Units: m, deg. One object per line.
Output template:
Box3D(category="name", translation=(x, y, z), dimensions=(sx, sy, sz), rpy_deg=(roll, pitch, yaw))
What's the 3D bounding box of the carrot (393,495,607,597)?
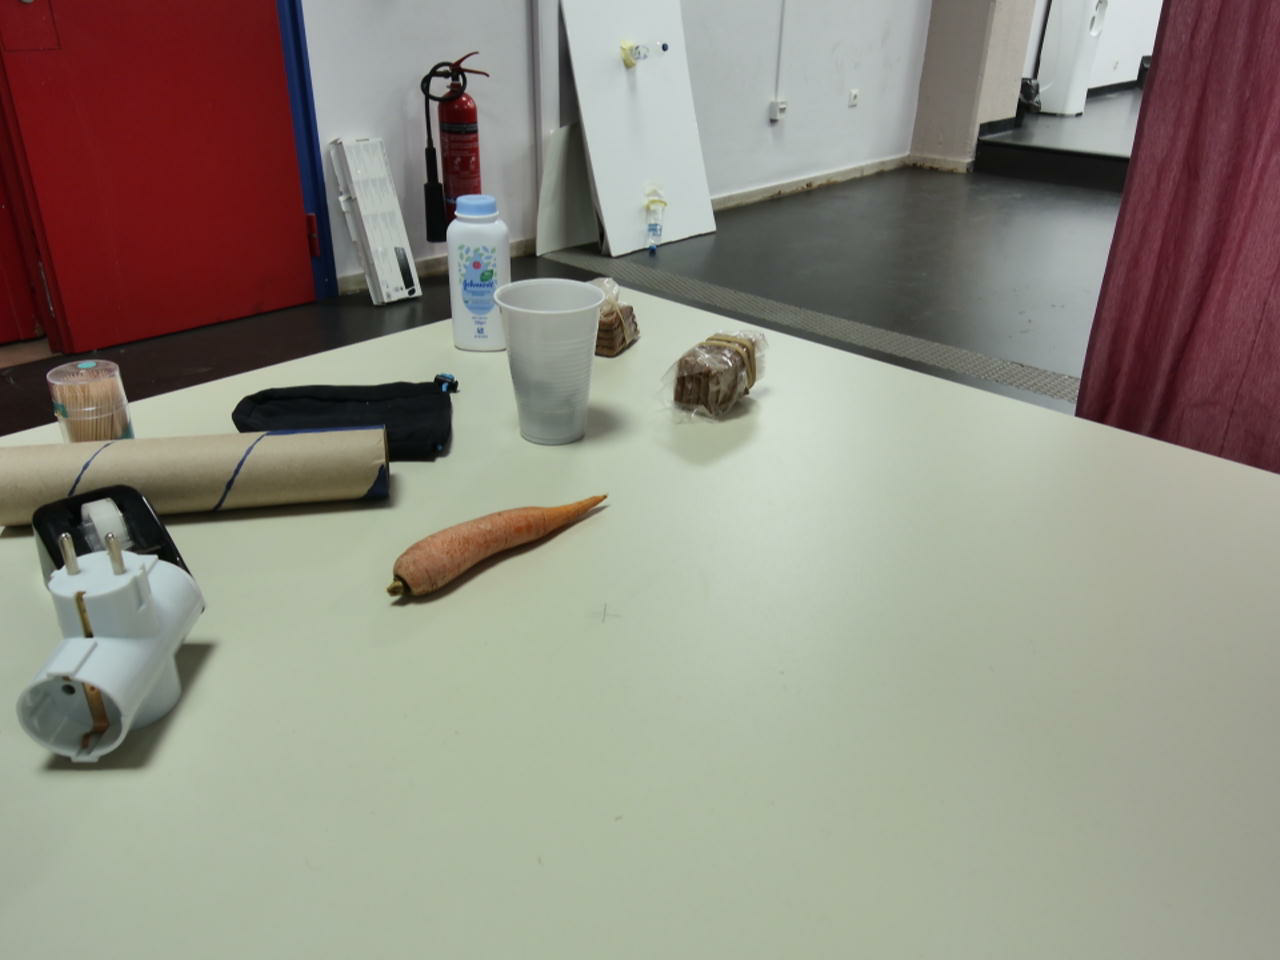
Box3D(category="carrot", translation=(-0.082, 0.030, 0.599), dimensions=(0.031, 0.029, 0.163), rpy_deg=(22, 33, 37))
